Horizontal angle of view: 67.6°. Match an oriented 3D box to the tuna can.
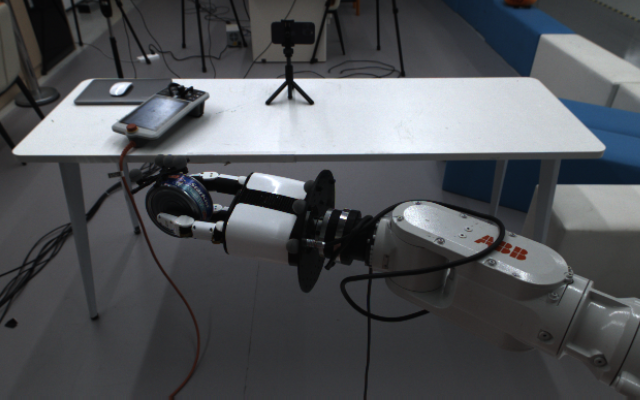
[{"bbox_3d":[-0.187,0.015,0.650,0.085,0.085,0.034,11,34,13],"label":"tuna can"}]
